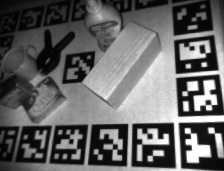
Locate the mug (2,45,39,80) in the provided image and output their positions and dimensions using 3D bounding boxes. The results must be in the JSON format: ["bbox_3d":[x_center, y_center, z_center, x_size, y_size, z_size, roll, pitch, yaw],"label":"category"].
[{"bbox_3d":[-0.286,-0.078,0.707,0.092,0.082,0.117,18,79,24],"label":"mug"}]

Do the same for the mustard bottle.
[{"bbox_3d":[-0.031,-0.168,0.565,0.095,0.193,0.058,-10,68,17],"label":"mustard bottle"}]

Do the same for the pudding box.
[{"bbox_3d":[-0.209,0.036,0.640,0.114,0.039,0.089,-41,64,-1],"label":"pudding box"}]

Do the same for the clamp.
[{"bbox_3d":[-0.206,-0.121,0.701,0.120,0.037,0.165,15,79,21],"label":"clamp"}]

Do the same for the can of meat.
[{"bbox_3d":[-0.310,0.015,0.650,0.101,0.084,0.057,-34,65,5],"label":"can of meat"}]

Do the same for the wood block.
[{"bbox_3d":[0.023,-0.056,0.569,0.089,0.092,0.206,34,83,28],"label":"wood block"}]
